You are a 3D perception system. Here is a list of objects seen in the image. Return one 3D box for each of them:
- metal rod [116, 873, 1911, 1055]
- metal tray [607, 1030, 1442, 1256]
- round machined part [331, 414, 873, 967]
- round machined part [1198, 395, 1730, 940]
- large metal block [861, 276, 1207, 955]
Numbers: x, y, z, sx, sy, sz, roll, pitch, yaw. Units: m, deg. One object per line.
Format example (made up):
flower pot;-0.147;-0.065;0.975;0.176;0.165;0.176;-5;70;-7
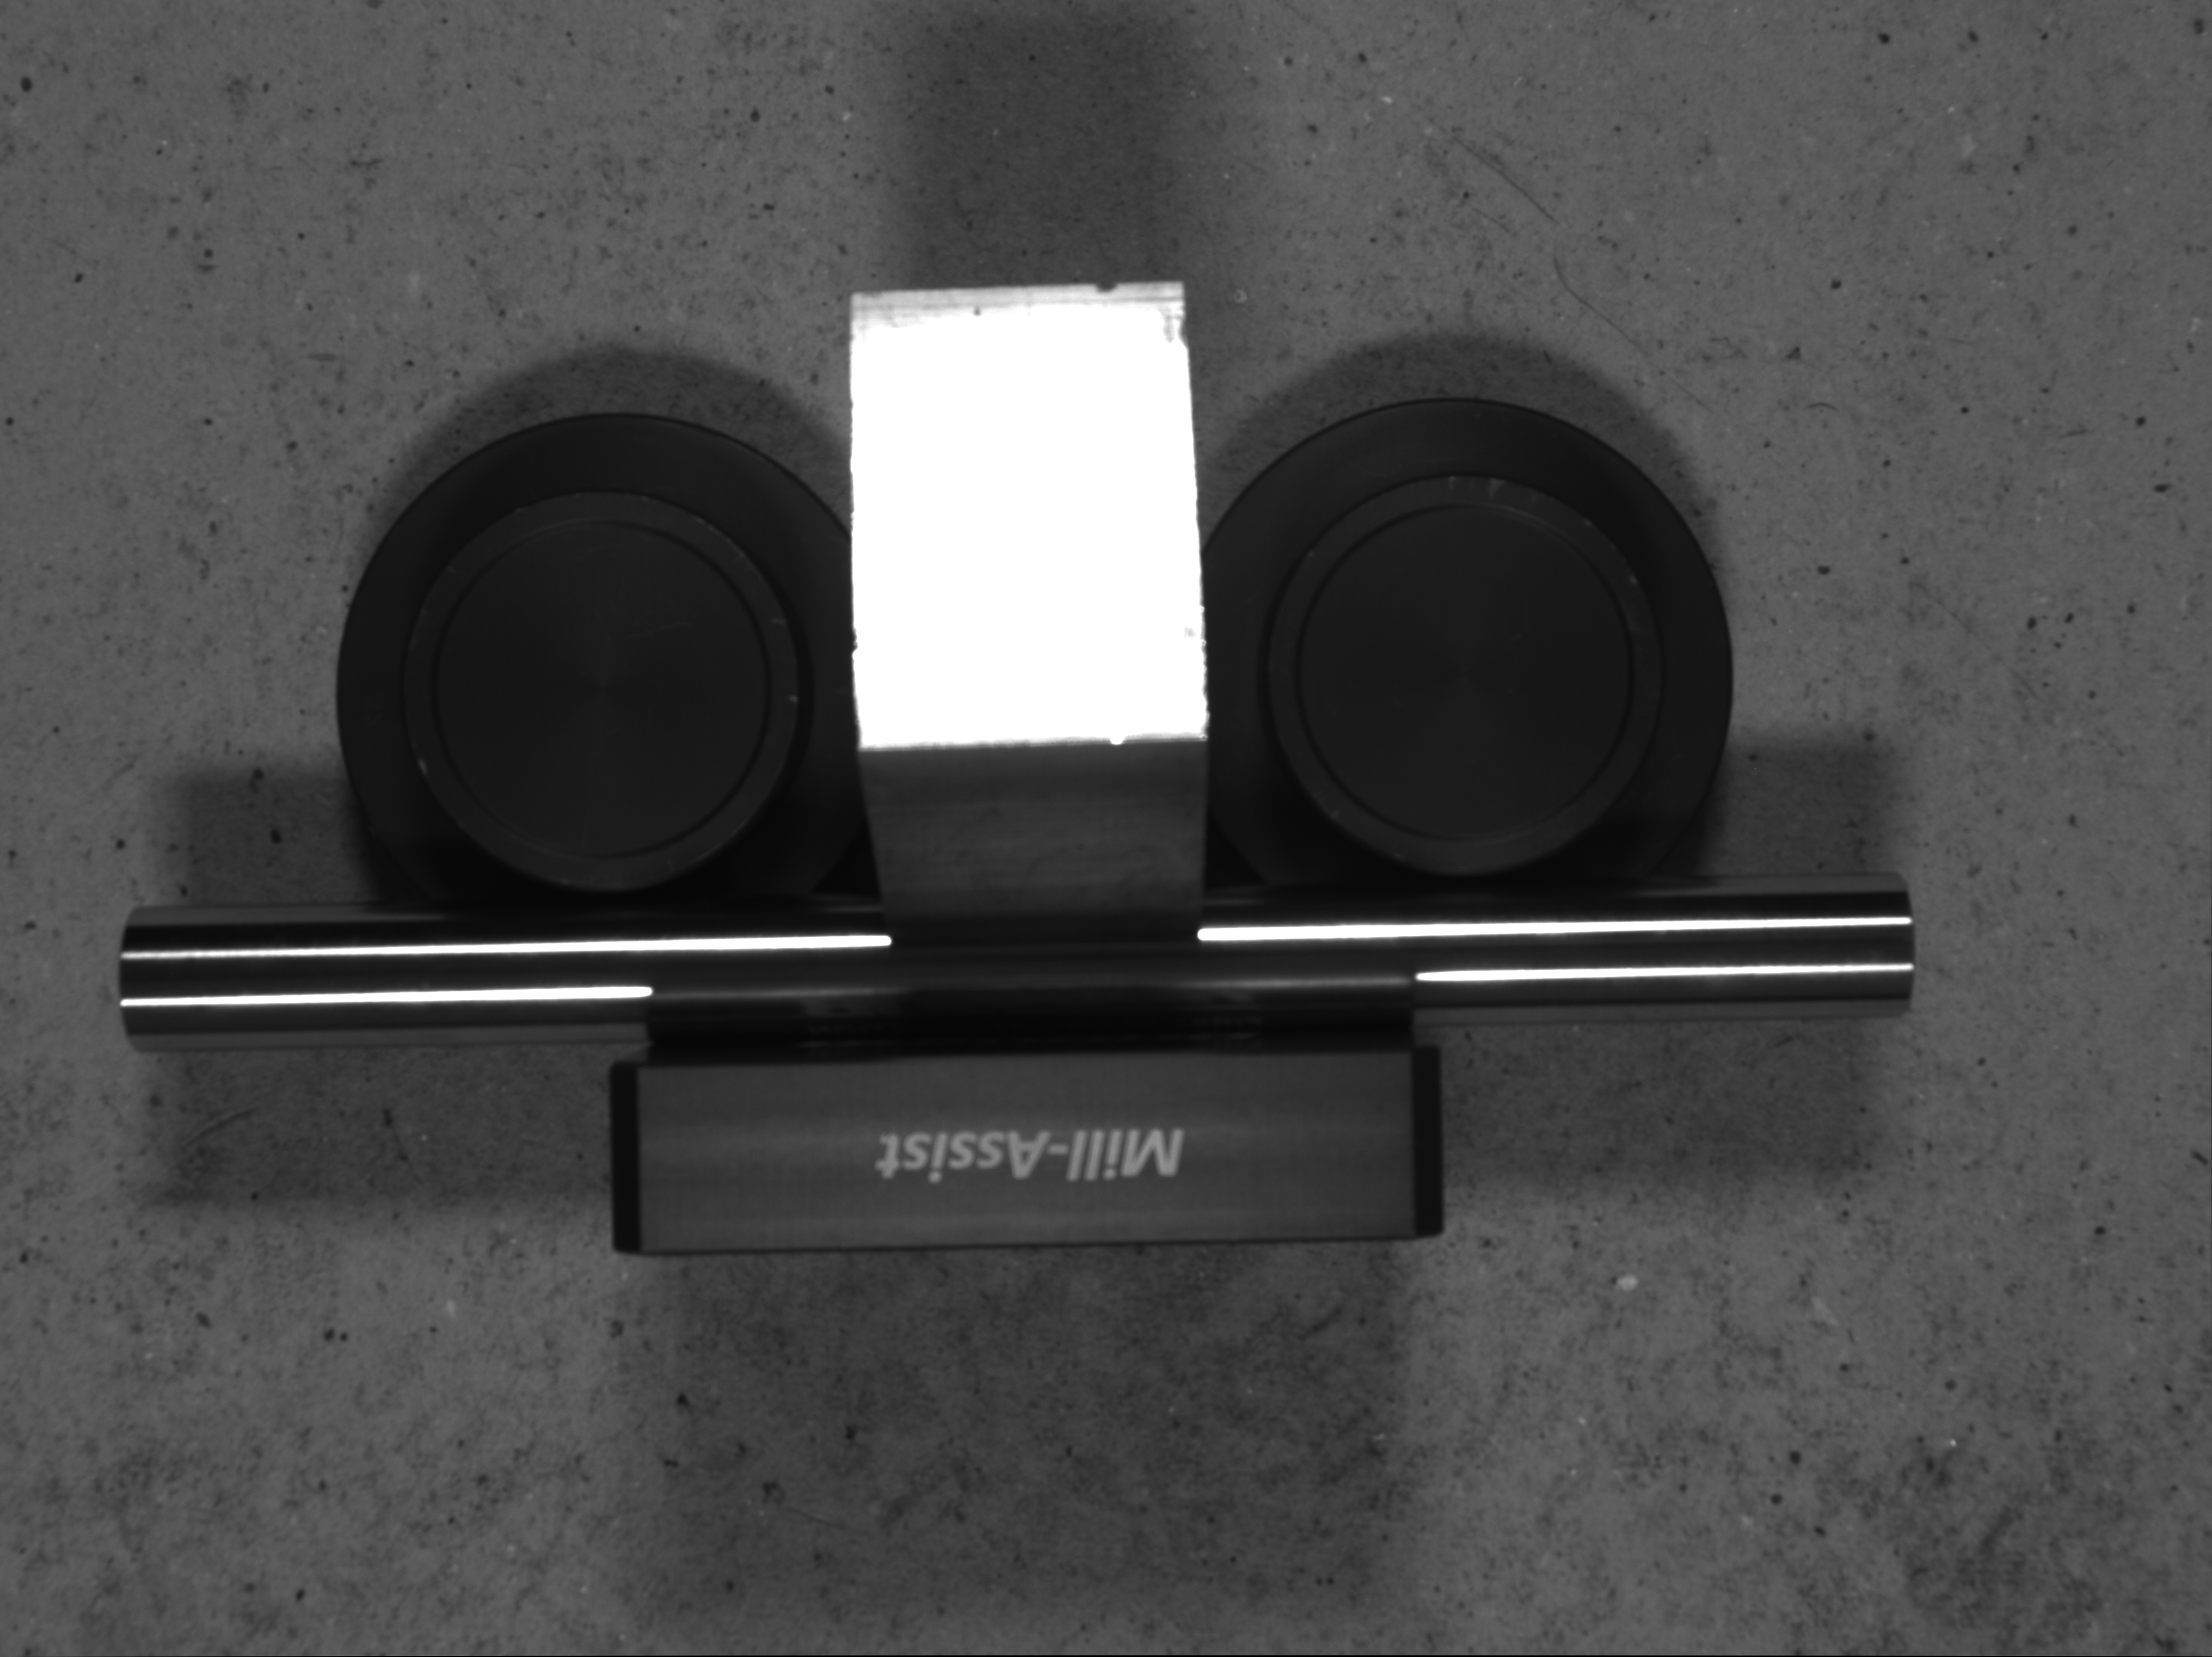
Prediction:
metal rod;-0.015;0.023;0.625;0.300;0.025;0.025;-1;90;-1
metal tray;-0.013;0.050;0.612;0.130;0.090;0.030;-1;90;0
round machined part;-0.085;-0.023;0.634;0.098;0.042;0.098;0;90;0
round machined part;0.060;-0.026;0.636;0.098;0.042;0.098;0;90;0
large metal block;-0.011;-0.033;0.591;0.050;0.080;0.080;-2;66;-1
